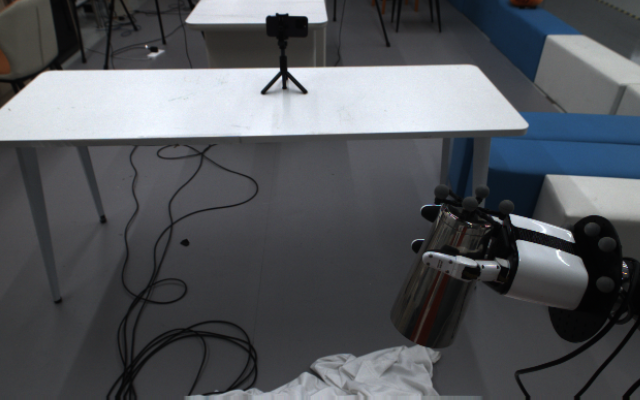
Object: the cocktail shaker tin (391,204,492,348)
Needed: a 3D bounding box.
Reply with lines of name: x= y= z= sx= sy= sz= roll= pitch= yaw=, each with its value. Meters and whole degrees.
cocktail shaker tin: x=0.162 y=0.087 z=0.615 sx=0.093 sy=0.170 sz=0.093 roll=12 pitch=25 yaw=-6
